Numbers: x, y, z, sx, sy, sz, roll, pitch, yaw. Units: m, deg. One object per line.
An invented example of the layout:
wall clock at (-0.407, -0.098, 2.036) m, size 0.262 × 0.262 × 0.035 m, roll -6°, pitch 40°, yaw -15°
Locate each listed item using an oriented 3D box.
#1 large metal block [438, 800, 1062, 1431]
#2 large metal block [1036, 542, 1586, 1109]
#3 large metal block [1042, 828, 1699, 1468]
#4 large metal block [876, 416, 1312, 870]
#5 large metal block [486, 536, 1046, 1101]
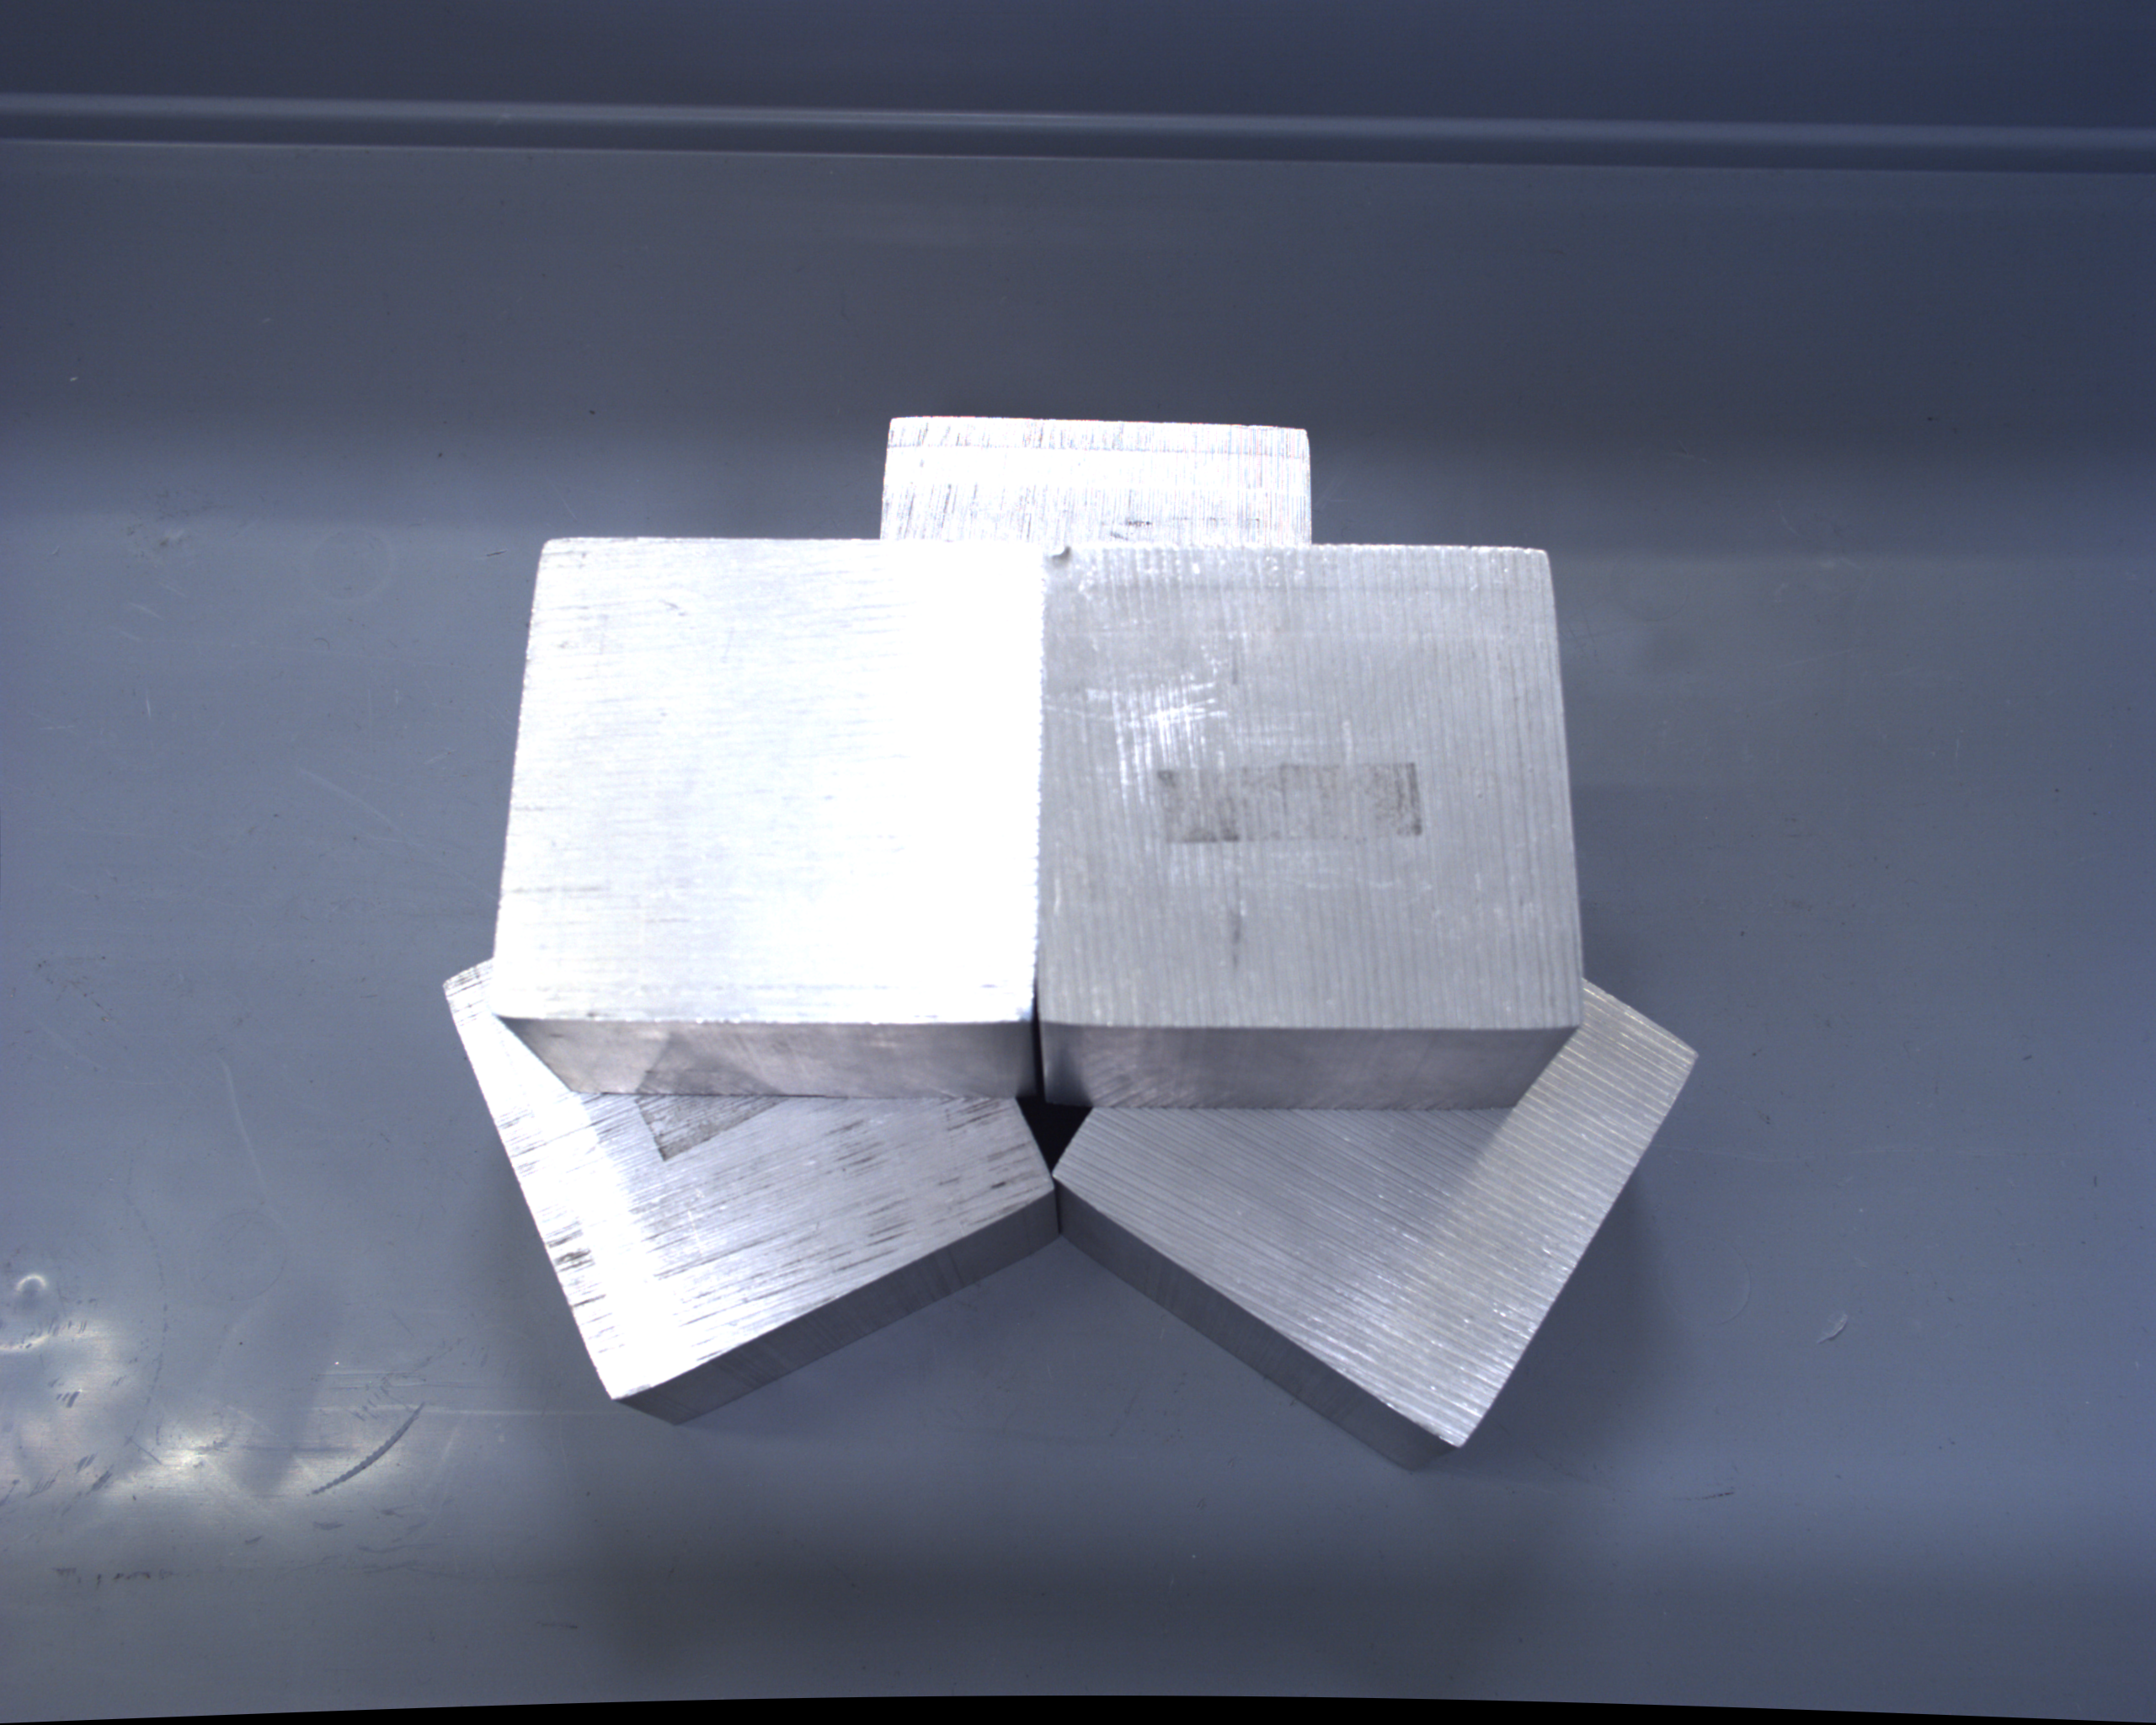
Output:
large metal block at (-0.057, 0.046, 0.377) m, size 0.080 × 0.050 × 0.080 m, roll -25°, pitch 72°, yaw -9°
large metal block at (0.035, -0.005, 0.342) m, size 0.080 × 0.050 × 0.080 m, roll 1°, pitch 70°, yaw 0°
large metal block at (0.050, 0.051, 0.375) m, size 0.080 × 0.050 × 0.080 m, roll 32°, pitch 73°, yaw 11°
large metal block at (0.003, -0.039, 0.409) m, size 0.080 × 0.050 × 0.080 m, roll 2°, pitch 70°, yaw 0°
large metal block at (-0.046, -0.006, 0.343) m, size 0.080 × 0.050 × 0.080 m, roll 1°, pitch 70°, yaw 0°
